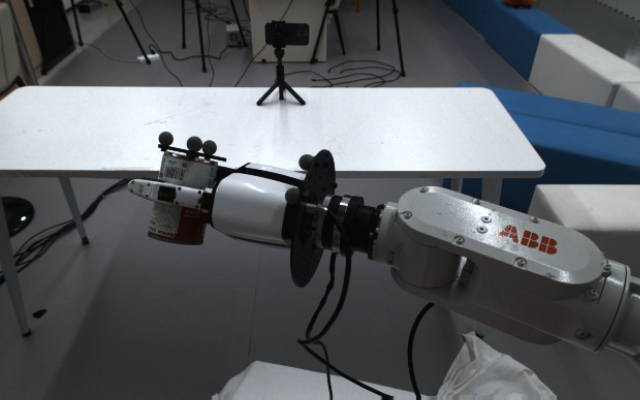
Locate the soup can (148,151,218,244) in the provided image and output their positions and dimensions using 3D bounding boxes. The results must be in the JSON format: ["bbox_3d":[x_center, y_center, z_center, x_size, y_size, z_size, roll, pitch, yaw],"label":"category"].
[{"bbox_3d":[-0.164,-0.001,0.585,0.067,0.101,0.067,12,2,0],"label":"soup can"}]
